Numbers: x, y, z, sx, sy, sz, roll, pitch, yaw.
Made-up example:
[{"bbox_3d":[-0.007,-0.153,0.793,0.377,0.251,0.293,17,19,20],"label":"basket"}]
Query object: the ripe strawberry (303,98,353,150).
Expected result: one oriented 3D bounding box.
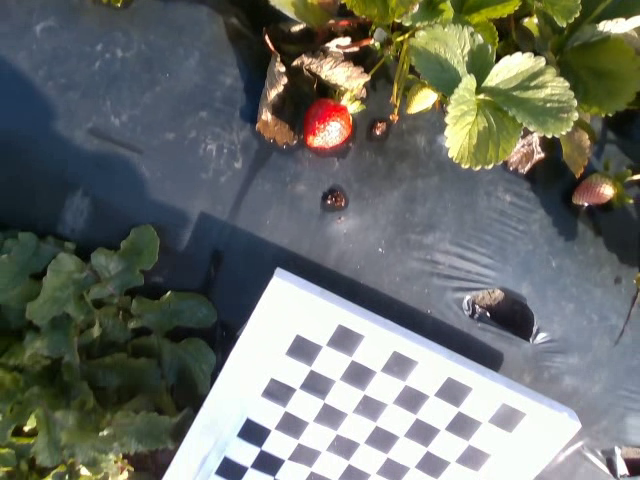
[{"bbox_3d":[0.000,-0.072,0.429,0.054,0.047,0.037,-51,17,-26],"label":"ripe strawberry"}]
